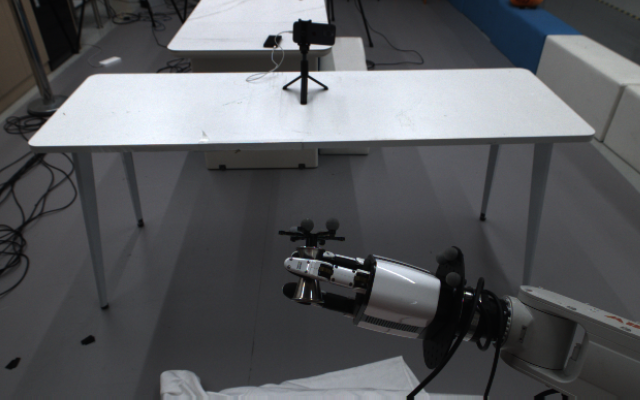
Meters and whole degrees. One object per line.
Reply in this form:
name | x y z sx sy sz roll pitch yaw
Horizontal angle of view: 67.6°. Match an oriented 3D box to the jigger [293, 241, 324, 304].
jigger | -0.015 0.096 0.629 0.043 0.043 0.071 3 75 2
